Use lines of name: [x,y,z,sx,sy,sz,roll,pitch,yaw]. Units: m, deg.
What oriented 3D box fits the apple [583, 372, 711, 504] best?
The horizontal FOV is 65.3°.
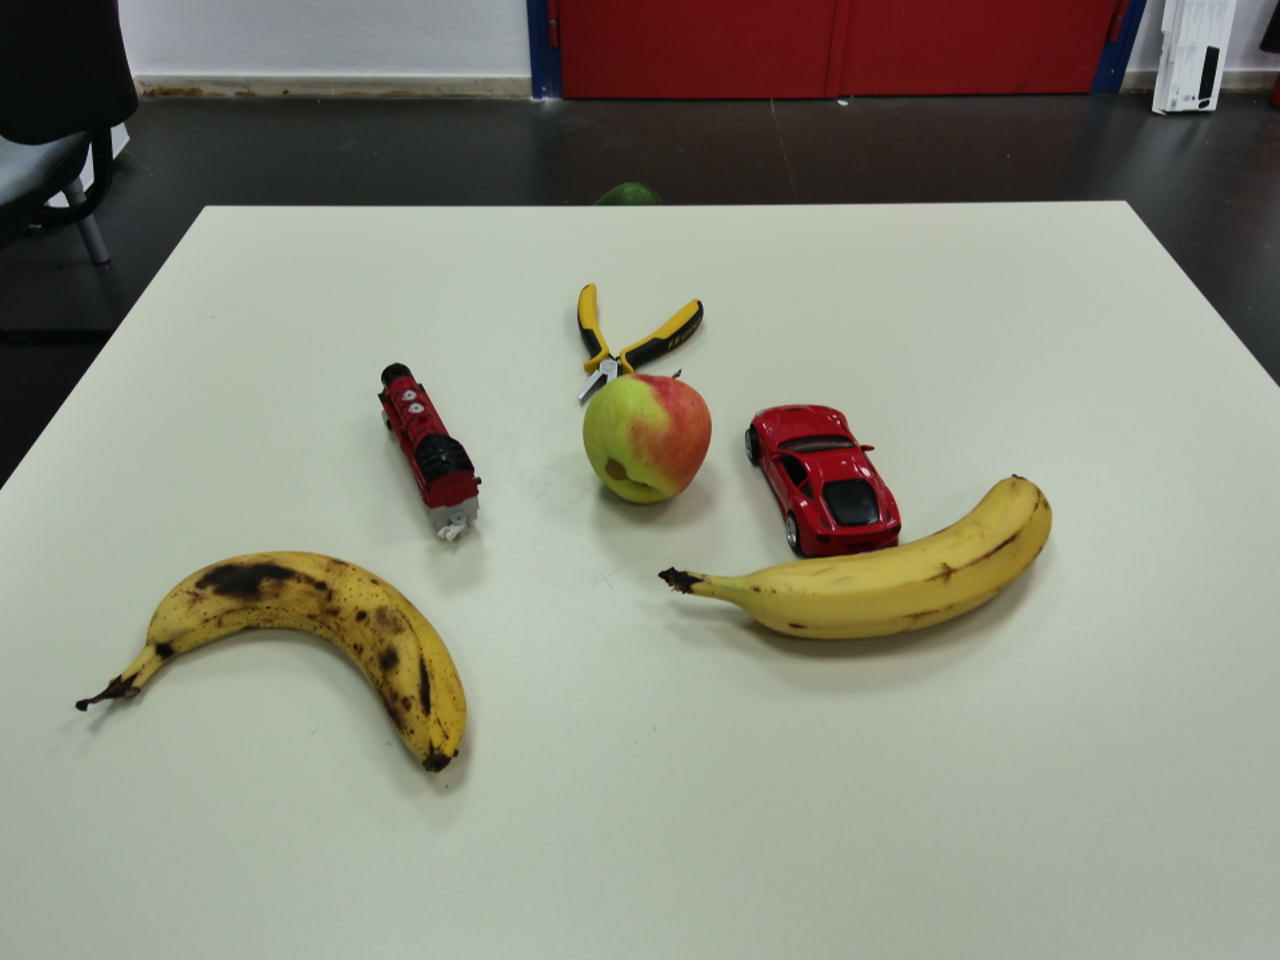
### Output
apple: [0.004,-0.025,0.575,0.075,0.074,0.075,-12,41,-15]
